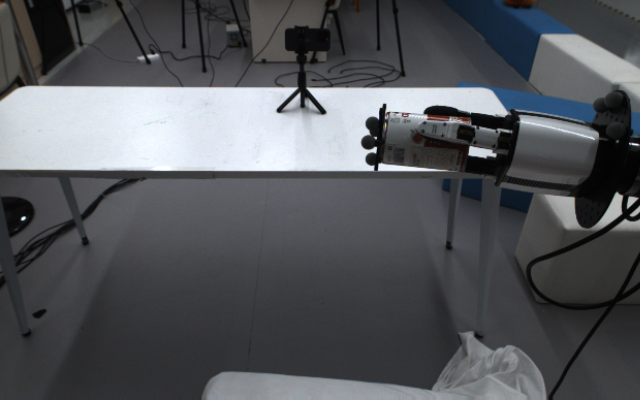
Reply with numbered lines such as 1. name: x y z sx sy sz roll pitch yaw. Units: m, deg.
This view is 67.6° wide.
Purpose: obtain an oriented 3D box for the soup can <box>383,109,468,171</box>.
1. soup can: 0.132 -0.075 0.603 0.101 0.067 0.067 6 35 10
